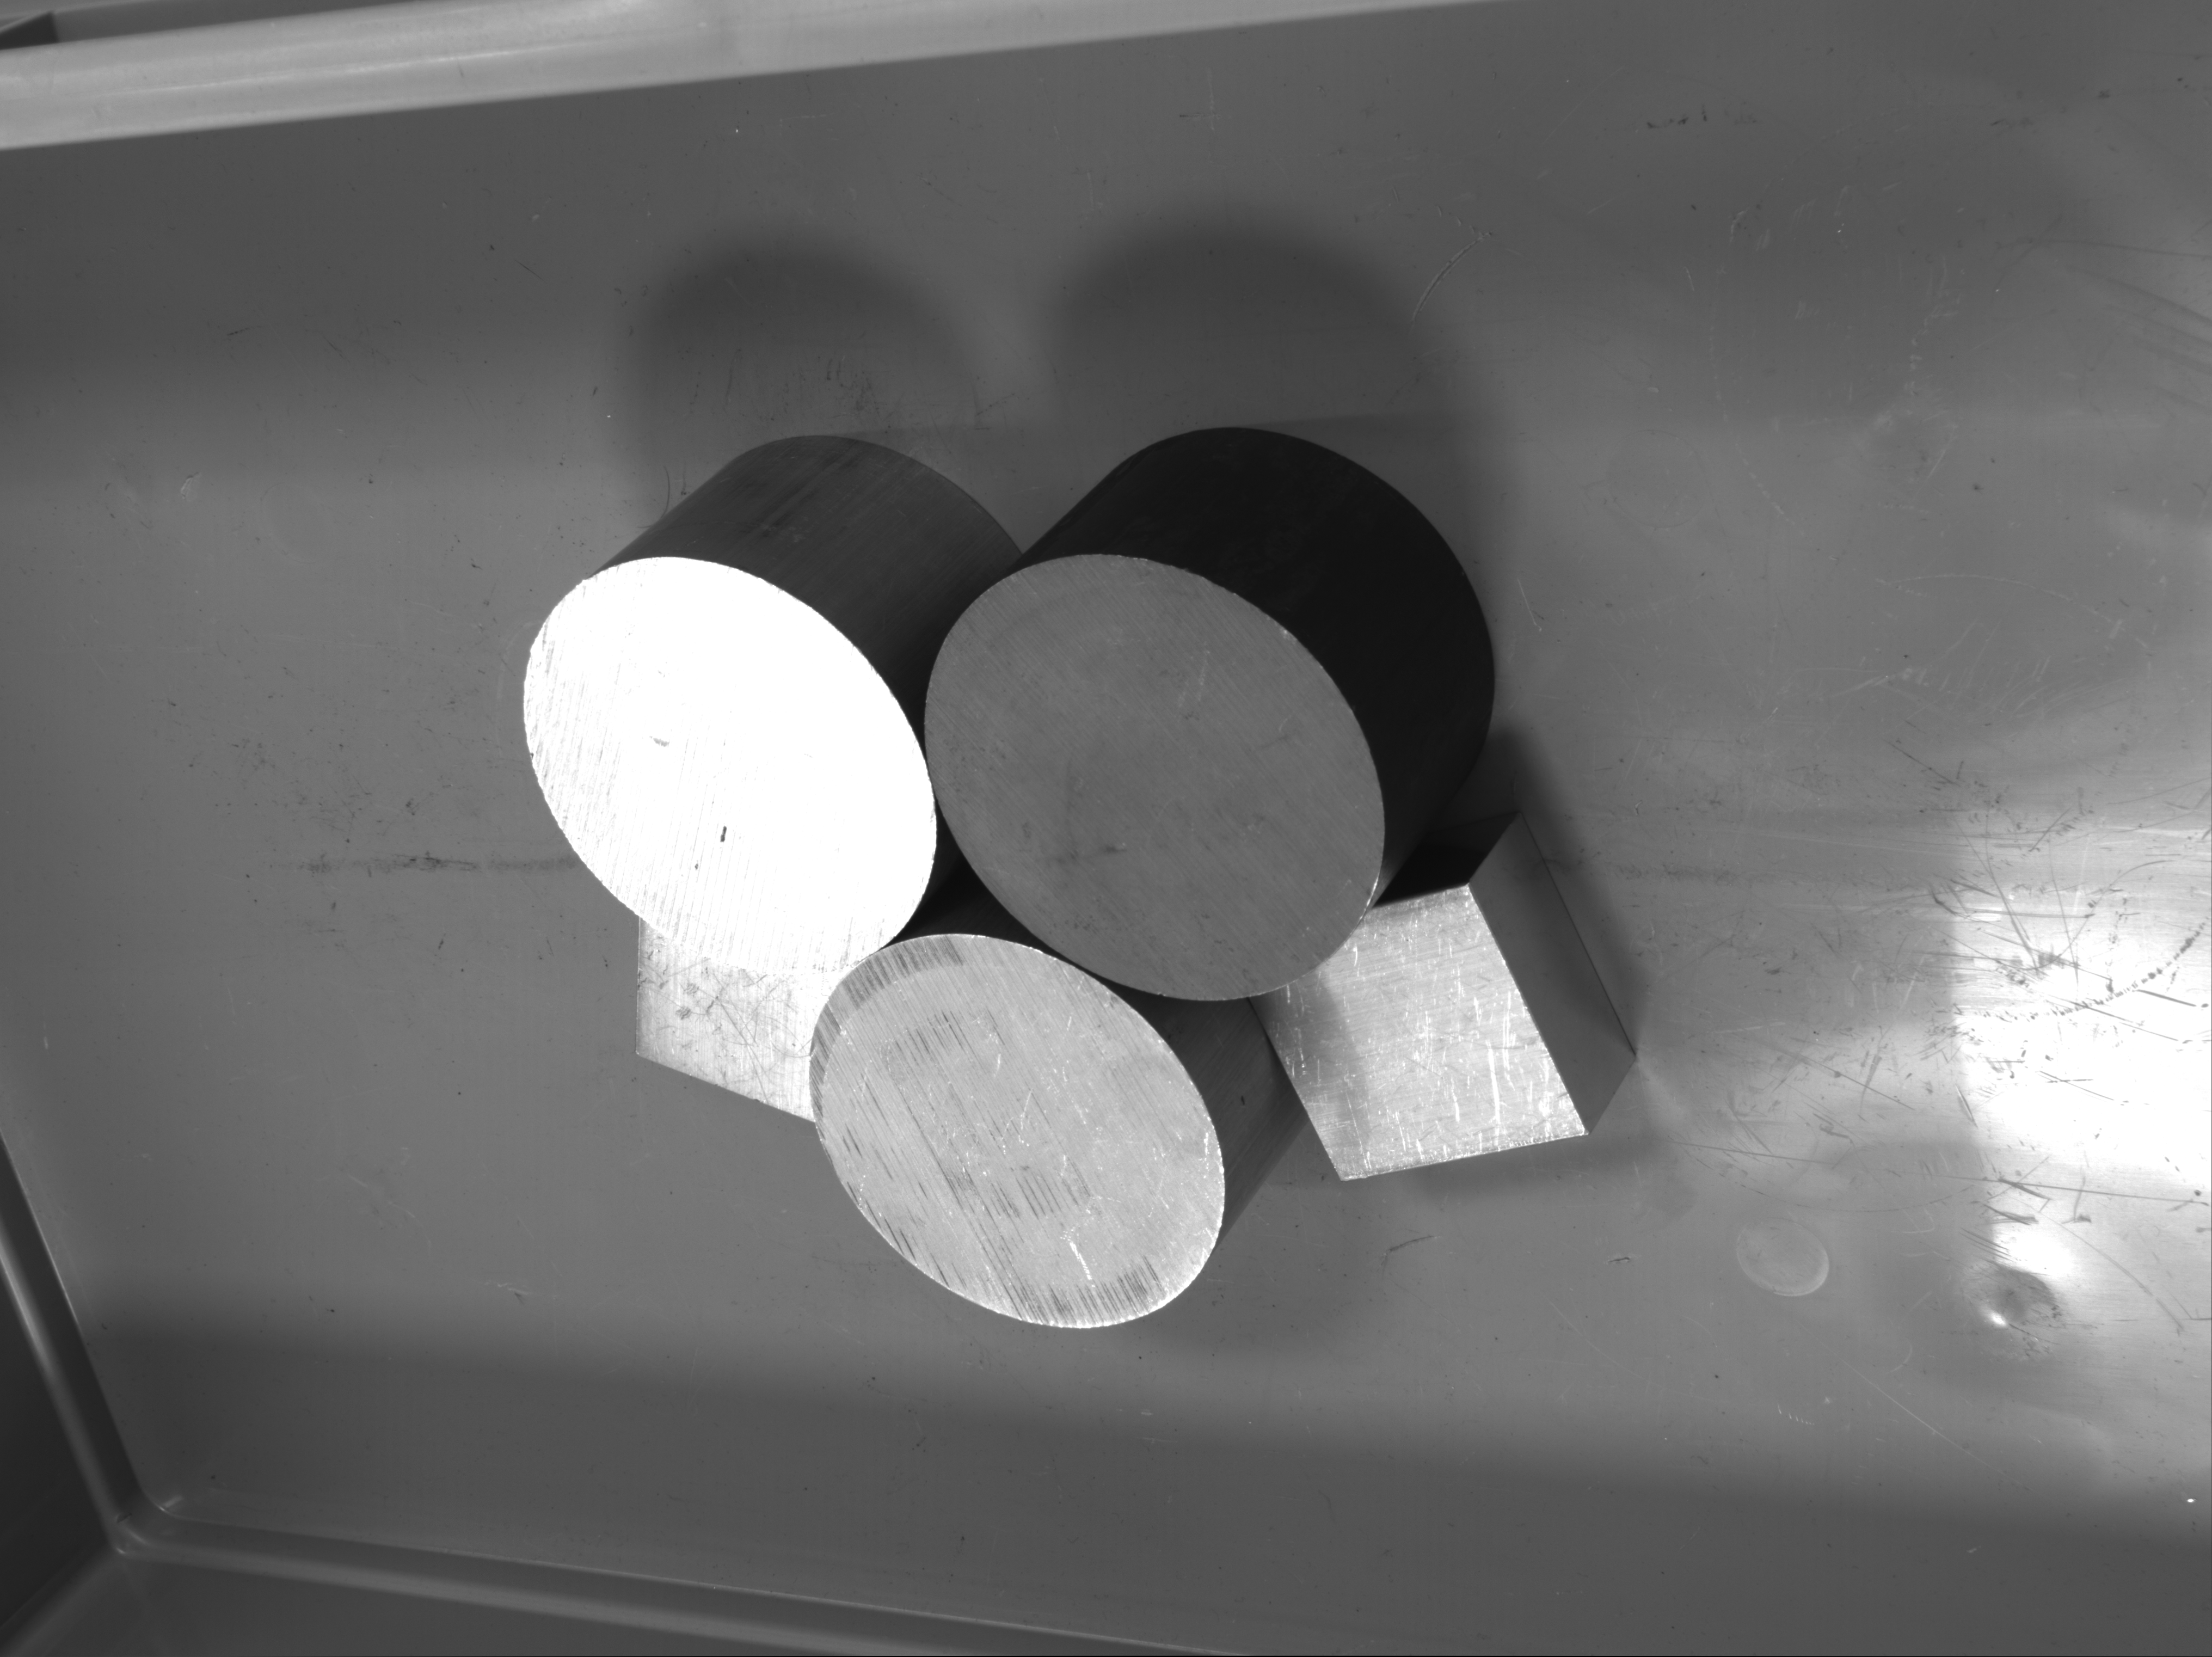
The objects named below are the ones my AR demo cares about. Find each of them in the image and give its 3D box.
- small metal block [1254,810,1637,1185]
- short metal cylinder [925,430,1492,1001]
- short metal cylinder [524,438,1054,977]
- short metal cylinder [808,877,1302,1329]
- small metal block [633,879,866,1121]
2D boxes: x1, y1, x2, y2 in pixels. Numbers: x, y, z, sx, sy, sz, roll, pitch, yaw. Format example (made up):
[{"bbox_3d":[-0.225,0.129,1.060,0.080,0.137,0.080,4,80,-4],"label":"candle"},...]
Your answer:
[{"bbox_3d":[0.055,0.030,0.630,0.050,0.025,0.050,-15,110,34],"label":"small metal block"},{"bbox_3d":[0.017,-0.019,0.604,0.080,0.050,0.080,13,124,21],"label":"short metal cylinder"},{"bbox_3d":[-0.054,-0.021,0.641,0.080,0.050,0.080,13,124,21],"label":"short metal cylinder"},{"bbox_3d":[-0.006,0.042,0.654,0.080,0.050,0.080,13,124,21],"label":"short metal cylinder"},{"bbox_3d":[-0.060,0.025,0.689,0.050,0.025,0.050,19,126,17],"label":"small metal block"}]
